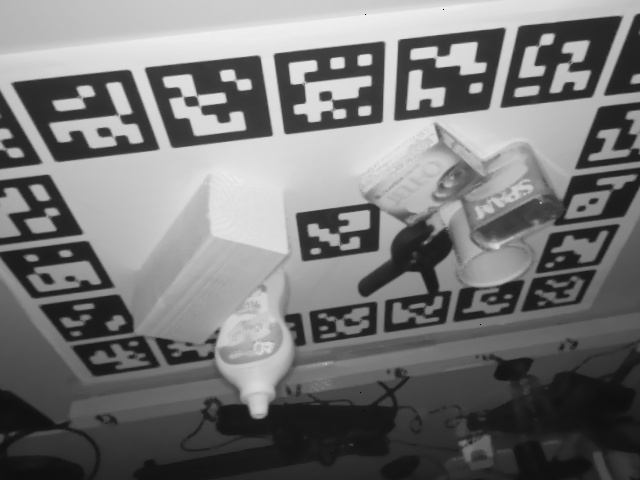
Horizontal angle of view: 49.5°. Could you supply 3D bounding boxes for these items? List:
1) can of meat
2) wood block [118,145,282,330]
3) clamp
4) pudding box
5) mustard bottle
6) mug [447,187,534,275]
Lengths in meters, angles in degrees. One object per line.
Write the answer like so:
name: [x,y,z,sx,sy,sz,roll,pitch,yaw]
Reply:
can of meat: [0.210,-0.058,0.753,0.101,0.084,0.058,-27,136,19]
wood block: [-0.137,0.005,0.764,0.091,0.091,0.203,19,134,-32]
clamp: [0.118,0.021,0.879,0.123,0.037,0.162,7,135,-17]
pudding box: [0.108,-0.082,0.747,0.112,0.039,0.091,-33,134,27]
mustard bottle: [-0.086,0.108,0.810,0.096,0.192,0.058,-10,139,0]
mug: [0.199,-0.010,0.852,0.094,0.082,0.115,9,135,-20]
